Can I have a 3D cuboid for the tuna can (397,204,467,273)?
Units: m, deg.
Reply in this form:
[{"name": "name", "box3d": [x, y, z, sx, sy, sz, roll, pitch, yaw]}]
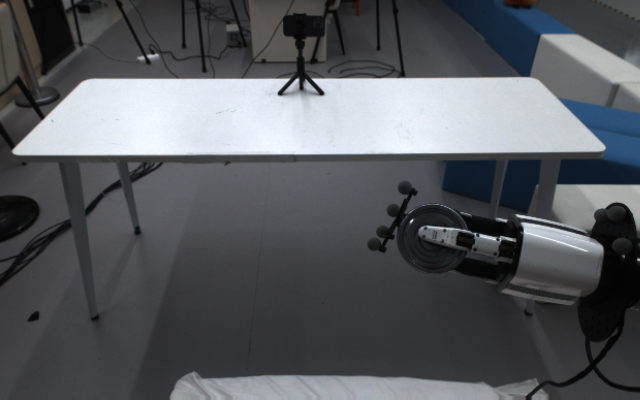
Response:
[{"name": "tuna can", "box3d": [0.139, 0.044, 0.588, 0.085, 0.085, 0.034, 9, -5, 10]}]
